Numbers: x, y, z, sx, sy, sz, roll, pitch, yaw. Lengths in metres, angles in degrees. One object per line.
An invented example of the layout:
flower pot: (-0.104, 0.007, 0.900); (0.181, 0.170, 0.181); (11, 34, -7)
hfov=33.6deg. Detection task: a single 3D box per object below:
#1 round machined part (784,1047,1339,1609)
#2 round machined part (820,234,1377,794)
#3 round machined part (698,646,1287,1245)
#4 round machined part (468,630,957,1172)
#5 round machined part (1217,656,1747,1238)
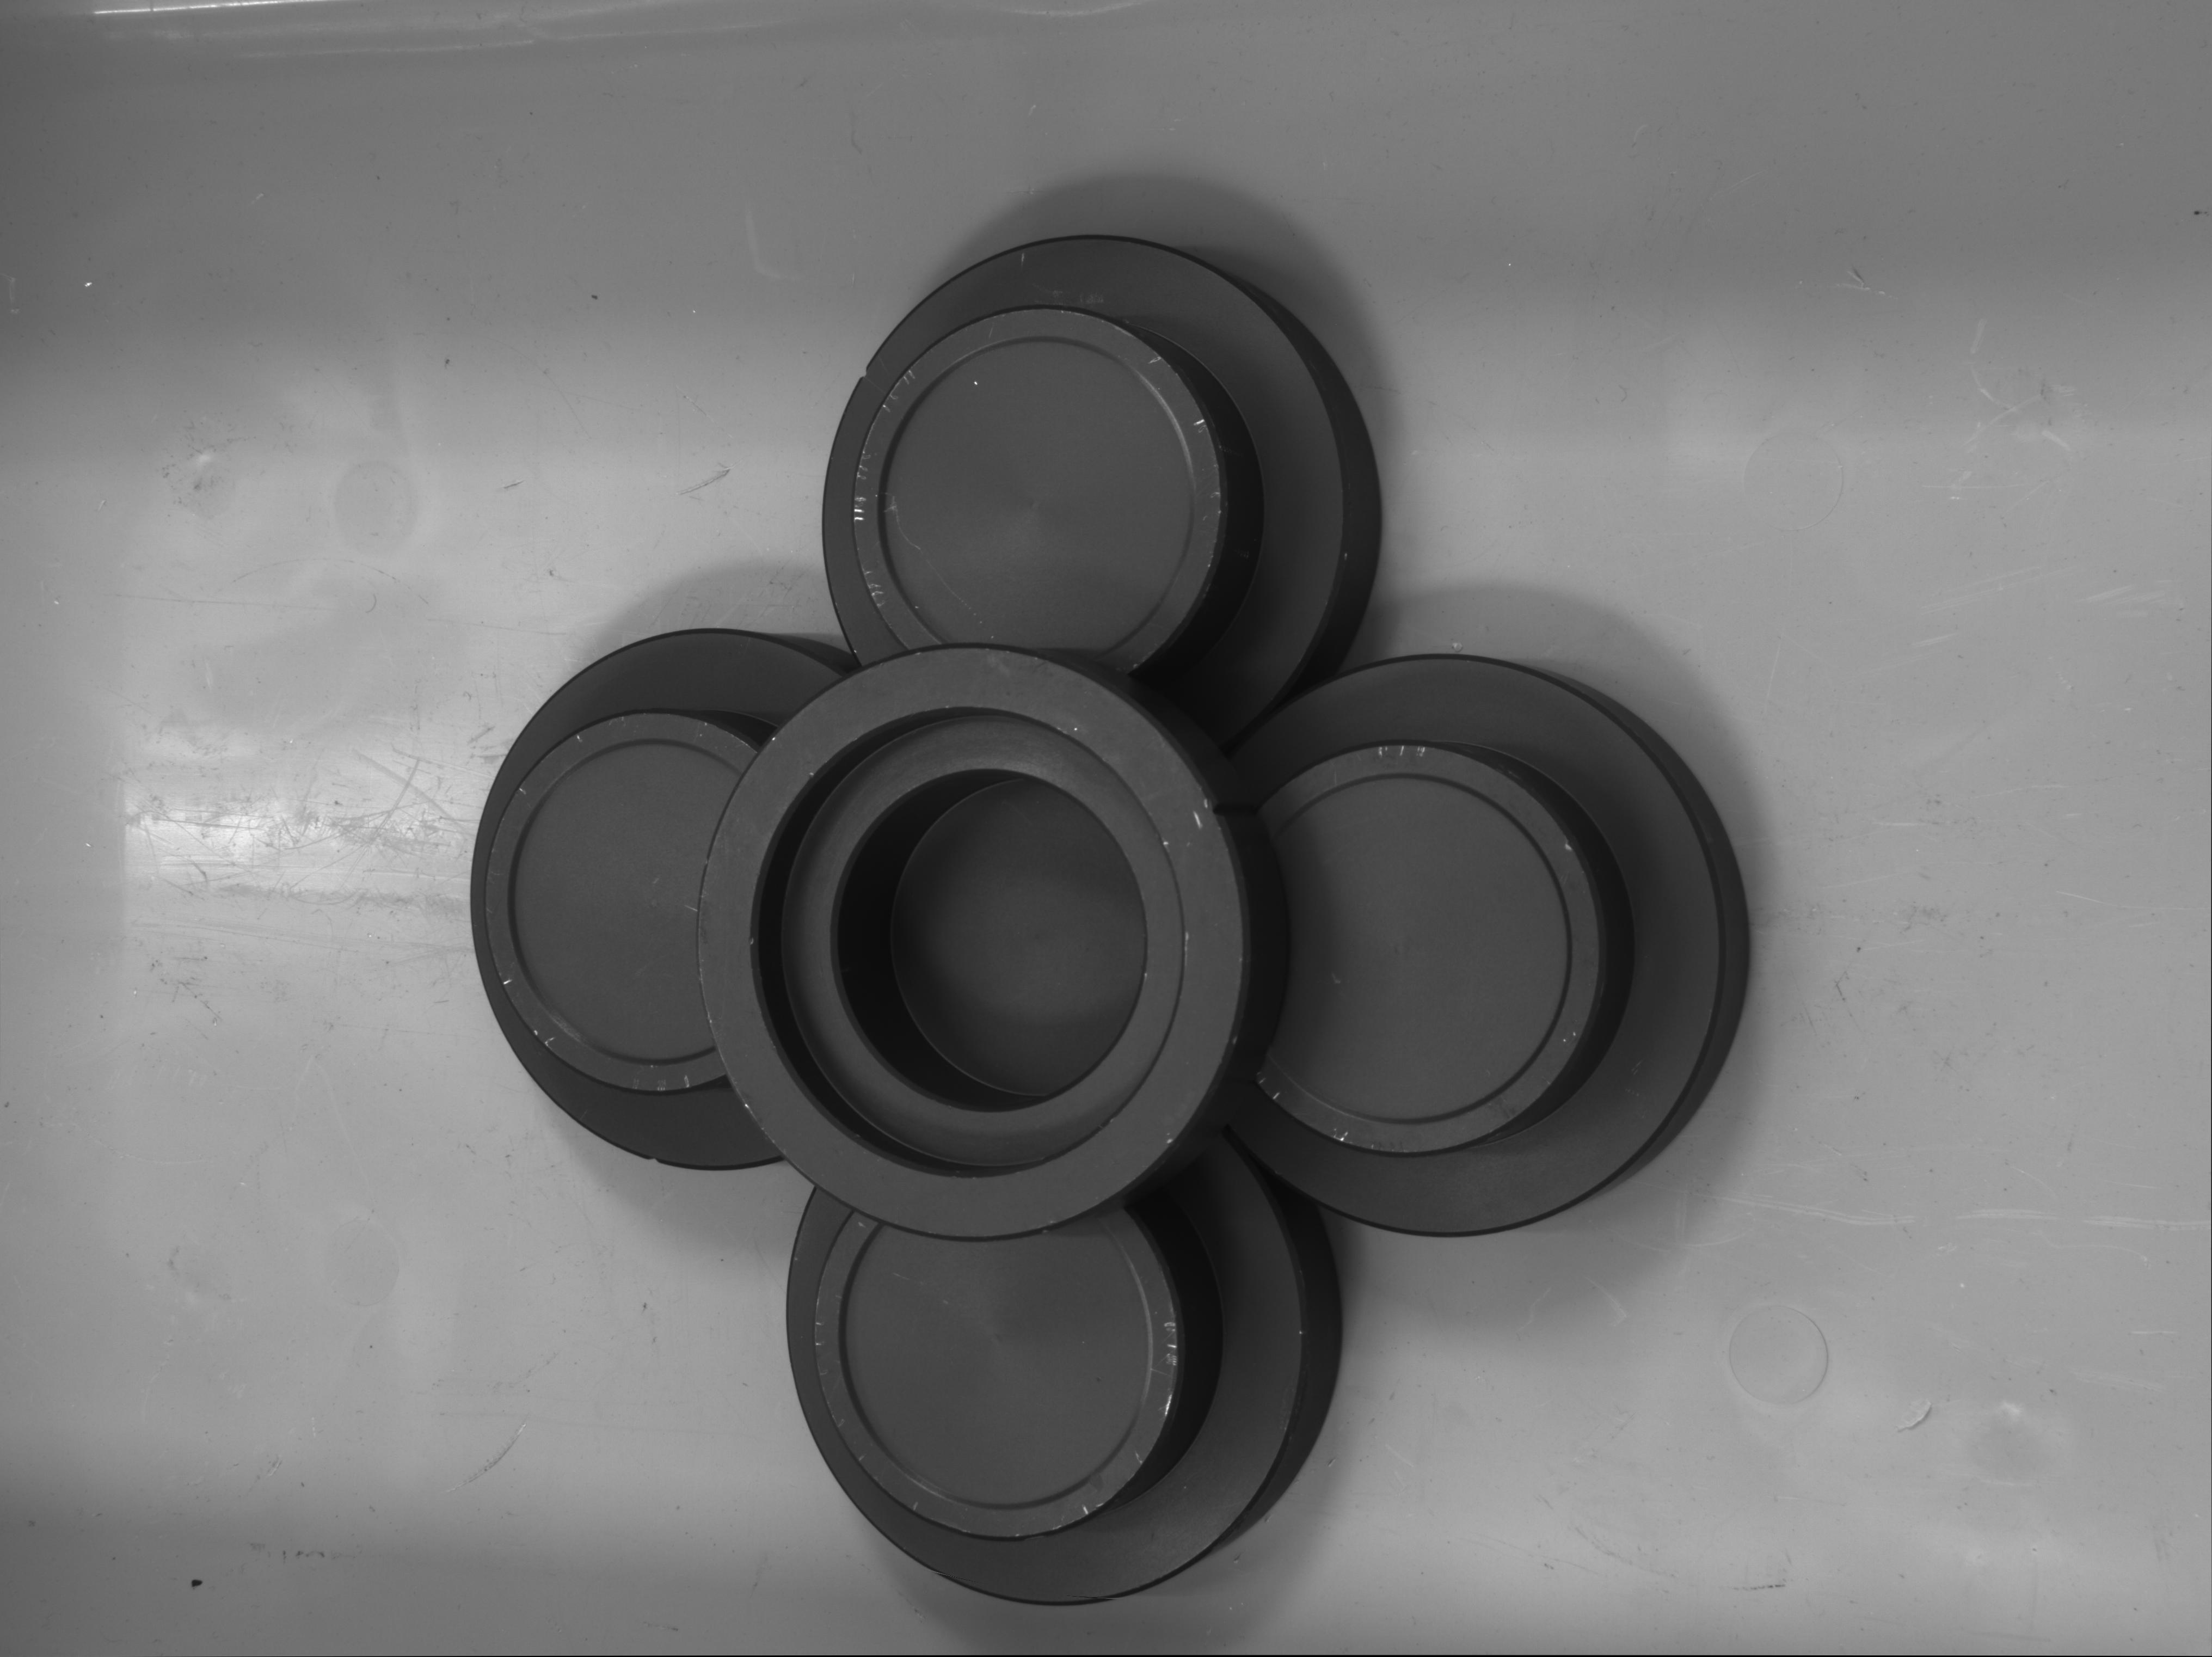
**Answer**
round machined part: (-0.012, 0.087, 0.639); (0.098, 0.042, 0.098); (-1, 88, 19)
round machined part: (-0.006, -0.054, 0.636); (0.098, 0.042, 0.098); (0, 90, 20)
round machined part: (-0.016, 0.019, 0.619); (0.098, 0.042, 0.098); (0, 90, 20)
round machined part: (-0.073, 0.013, 0.661); (0.098, 0.042, 0.098); (0, 90, 20)
round machined part: (0.055, 0.020, 0.615); (0.098, 0.042, 0.098); (0, 90, 20)
